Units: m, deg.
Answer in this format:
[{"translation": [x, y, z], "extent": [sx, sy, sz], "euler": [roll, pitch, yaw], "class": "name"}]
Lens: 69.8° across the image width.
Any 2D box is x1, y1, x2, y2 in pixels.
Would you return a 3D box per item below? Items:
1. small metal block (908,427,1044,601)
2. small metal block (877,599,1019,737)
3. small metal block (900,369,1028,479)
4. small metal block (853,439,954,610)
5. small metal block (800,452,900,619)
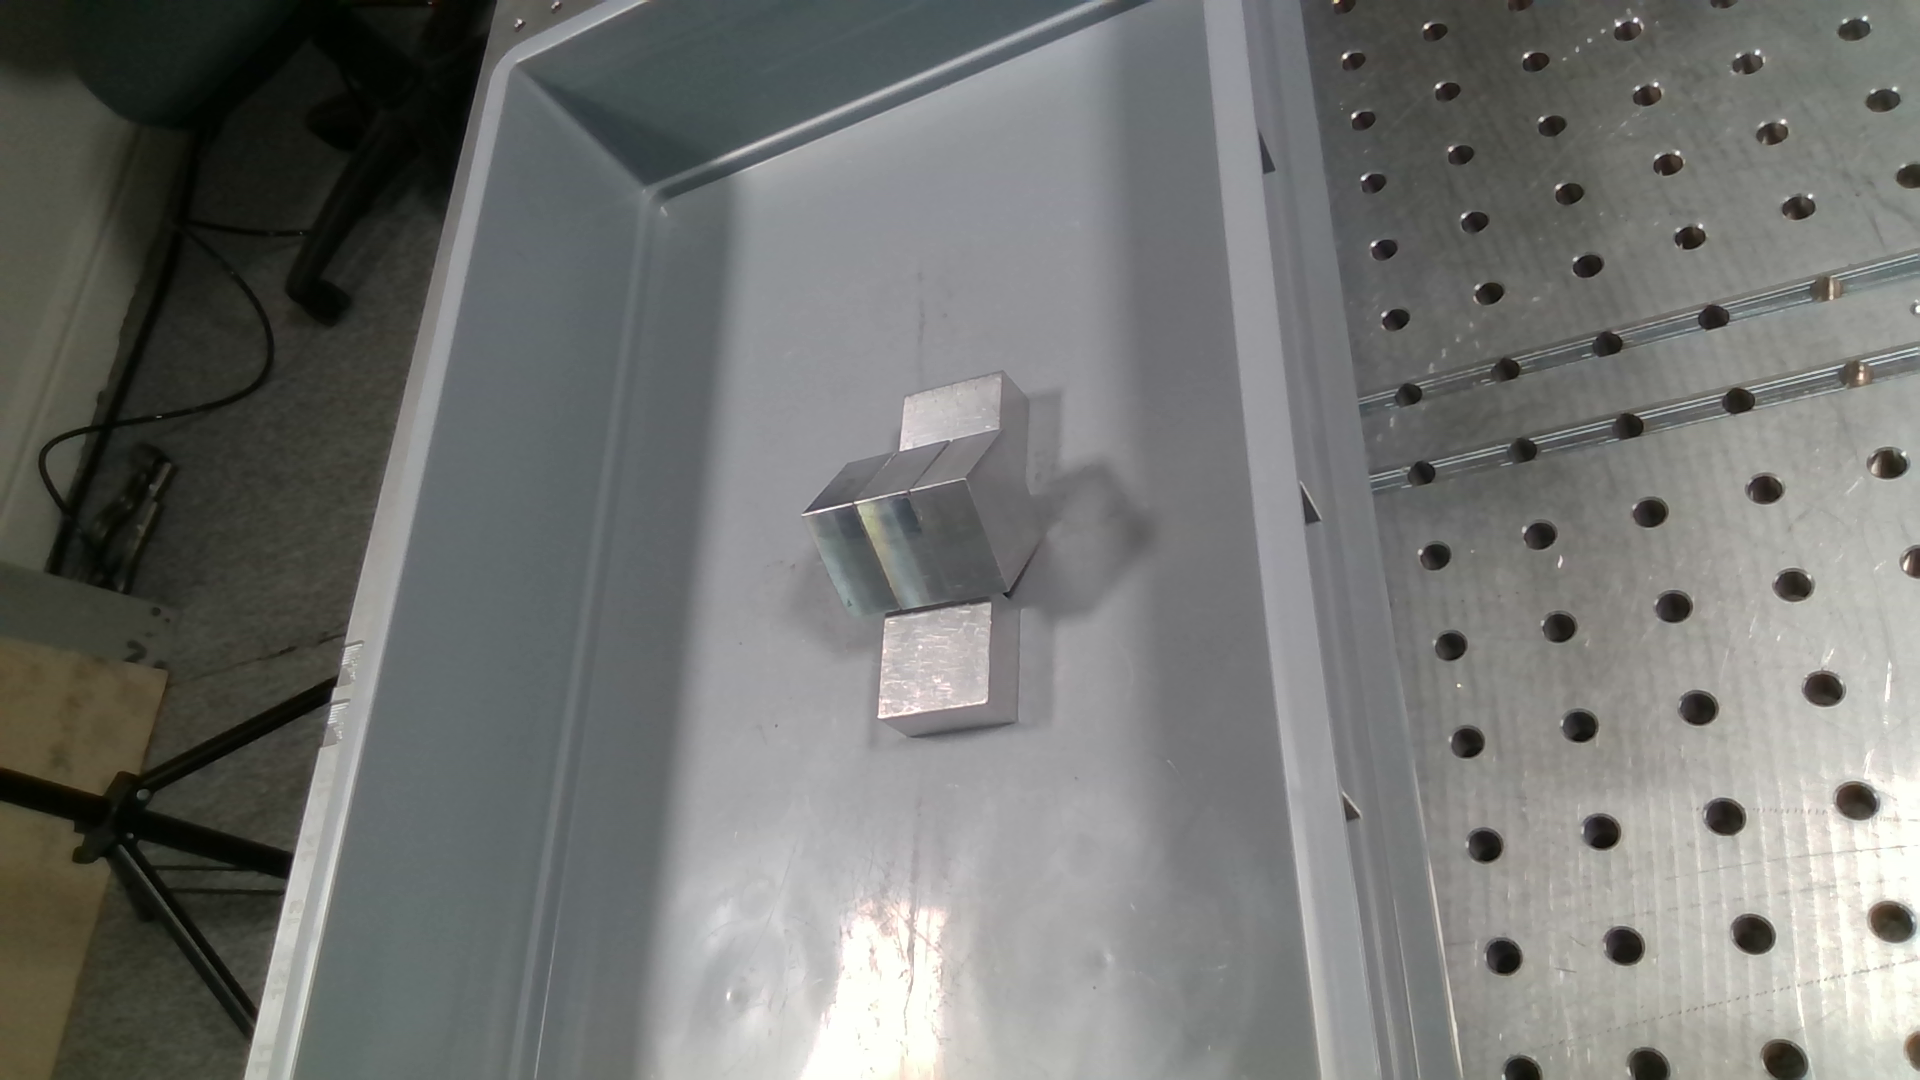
[{"translation": [0.008, -0.011, 0.556], "extent": [0.025, 0.050, 0.050], "euler": [-11, 24, 26], "class": "small metal block"}, {"translation": [-0.004, 0.050, 0.561], "extent": [0.050, 0.025, 0.050], "euler": [-12, 60, 26], "class": "small metal block"}, {"translation": [0.001, -0.042, 0.606], "extent": [0.050, 0.025, 0.050], "euler": [-11, 60, 27], "class": "small metal block"}, {"translation": [-0.015, -0.007, 0.567], "extent": [0.025, 0.050, 0.050], "euler": [-12, 24, 26], "class": "small metal block"}, {"translation": [-0.037, -0.003, 0.579], "extent": [0.025, 0.050, 0.050], "euler": [-12, 24, 26], "class": "small metal block"}]
